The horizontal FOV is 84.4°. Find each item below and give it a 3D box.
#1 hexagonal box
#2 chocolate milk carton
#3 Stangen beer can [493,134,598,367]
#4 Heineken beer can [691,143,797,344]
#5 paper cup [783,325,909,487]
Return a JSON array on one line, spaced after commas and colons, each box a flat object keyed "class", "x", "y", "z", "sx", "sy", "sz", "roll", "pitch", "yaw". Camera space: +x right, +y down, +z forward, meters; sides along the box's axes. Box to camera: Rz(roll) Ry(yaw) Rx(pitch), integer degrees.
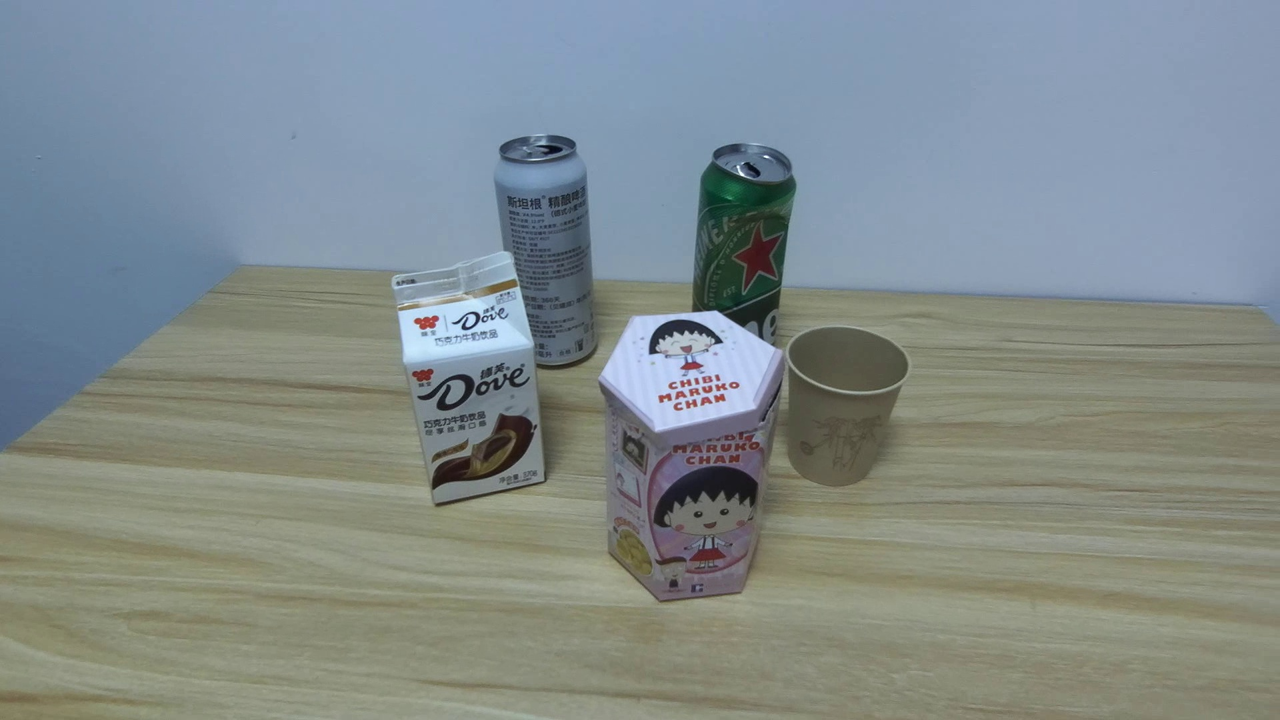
[{"class": "hexagonal box", "x": 0.027, "y": 0.052, "z": 0.376, "sx": 0.092, "sy": 0.135, "sz": 0.085, "roll": -4, "pitch": 35, "yaw": -4}, {"class": "chocolate milk carton", "x": -0.105, "y": 0.006, "z": 0.438, "sx": 0.075, "sy": 0.148, "sz": 0.074, "roll": -9, "pitch": 34, "yaw": -15}, {"class": "Stangen beer can", "x": -0.069, "y": -0.078, "z": 0.539, "sx": 0.067, "sy": 0.171, "sz": 0.067, "roll": -1, "pitch": 32, "yaw": 1}, {"class": "Heineken beer can", "x": 0.074, "y": -0.067, "z": 0.517, "sx": 0.068, "sy": 0.168, "sz": 0.069, "roll": 2, "pitch": 37, "yaw": 1}, {"class": "paper cup", "x": 0.126, "y": 0.033, "z": 0.448, "sx": 0.075, "sy": 0.082, "sz": 0.075, "roll": -1, "pitch": 35, "yaw": 1}]
